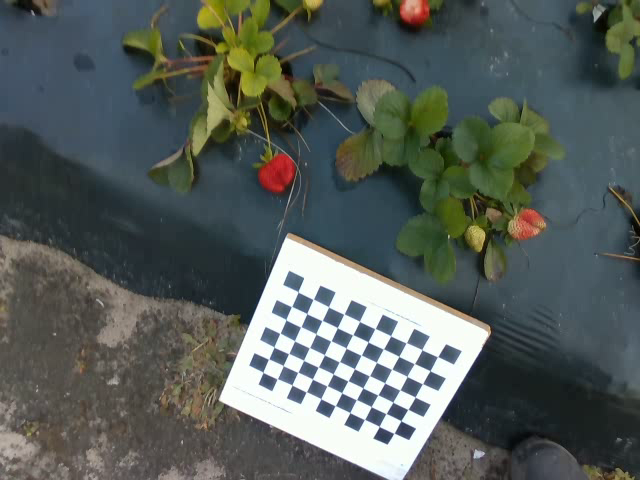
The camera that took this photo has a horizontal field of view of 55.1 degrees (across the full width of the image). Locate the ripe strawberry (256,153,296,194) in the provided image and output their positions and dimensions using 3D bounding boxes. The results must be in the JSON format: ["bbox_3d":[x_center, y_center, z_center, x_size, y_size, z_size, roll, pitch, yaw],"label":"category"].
[{"bbox_3d":[-0.016,-0.022,0.217,0.017,0.015,0.013,-42,-38,21],"label":"ripe strawberry"}]
